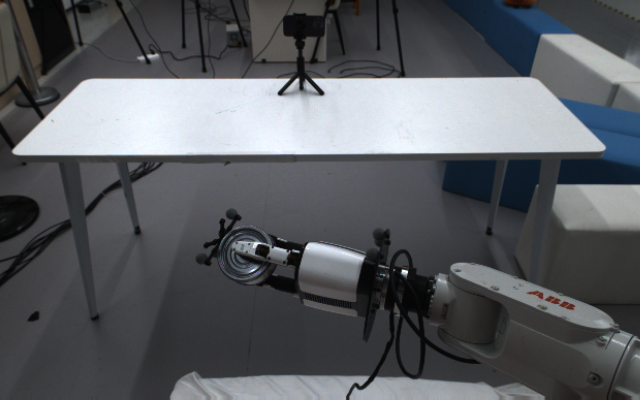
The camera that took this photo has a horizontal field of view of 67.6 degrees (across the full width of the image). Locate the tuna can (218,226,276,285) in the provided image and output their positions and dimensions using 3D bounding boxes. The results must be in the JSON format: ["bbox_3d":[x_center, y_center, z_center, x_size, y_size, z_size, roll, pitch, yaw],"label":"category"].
[{"bbox_3d":[-0.103,0.085,0.709,0.085,0.034,0.085,-2,72,6],"label":"tuna can"}]
